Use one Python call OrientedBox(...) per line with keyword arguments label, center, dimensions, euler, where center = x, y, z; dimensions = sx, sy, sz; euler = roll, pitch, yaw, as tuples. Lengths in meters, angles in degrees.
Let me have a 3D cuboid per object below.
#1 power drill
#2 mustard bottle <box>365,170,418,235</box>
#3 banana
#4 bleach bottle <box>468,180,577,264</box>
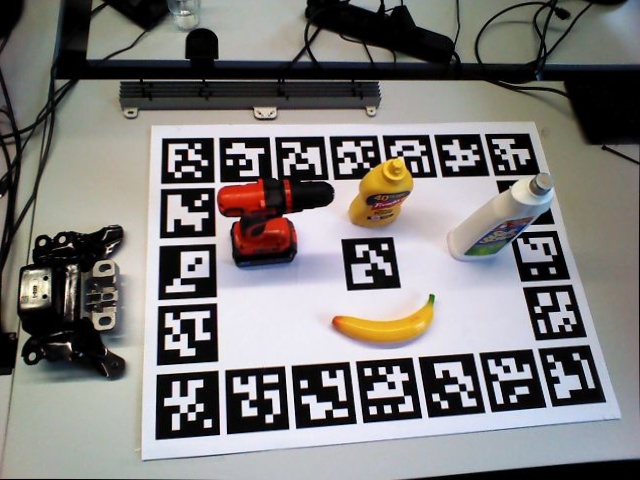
OrientedBox(label="power drill", center=(-0.038, -0.032, 0.839), dimensions=(0.185, 0.187, 0.057), euler=(-9, 70, -5))
OrientedBox(label="mustard bottle", center=(0.144, -0.071, 0.904), dimensions=(0.096, 0.192, 0.058), euler=(-9, 70, -11))
OrientedBox(label="banana", center=(0.151, 0.151, 0.889), dimensions=(0.197, 0.039, 0.074), euler=(-8, 71, -5))
OrientedBox(label="bleach bottle", center=(0.342, -0.031, 0.872), dimensions=(0.103, 0.252, 0.067), euler=(6, 68, -4))
